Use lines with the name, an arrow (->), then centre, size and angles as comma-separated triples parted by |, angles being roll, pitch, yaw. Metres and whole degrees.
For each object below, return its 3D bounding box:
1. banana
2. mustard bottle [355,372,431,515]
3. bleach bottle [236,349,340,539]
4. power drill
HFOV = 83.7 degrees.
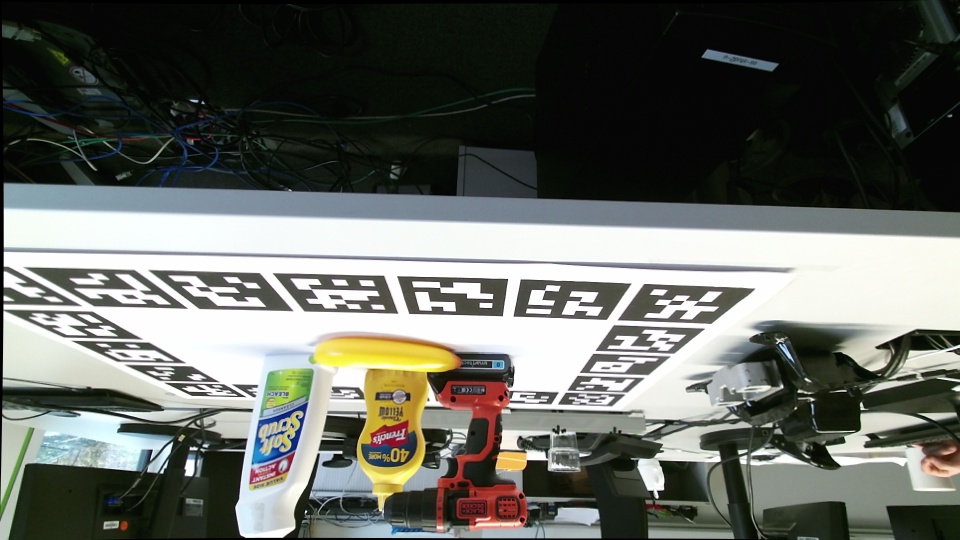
banana -> -0.128, 0.112, 0.674 | 0.198, 0.038, 0.074 | 2, 148, -3
mustard bottle -> -0.126, 0.245, 0.765 | 0.096, 0.190, 0.058 | 3, 152, 1
bleach bottle -> -0.257, 0.232, 0.705 | 0.103, 0.249, 0.068 | -2, 150, 8
power drill -> -0.025, 0.236, 0.701 | 0.185, 0.186, 0.057 | 2, 159, 5
